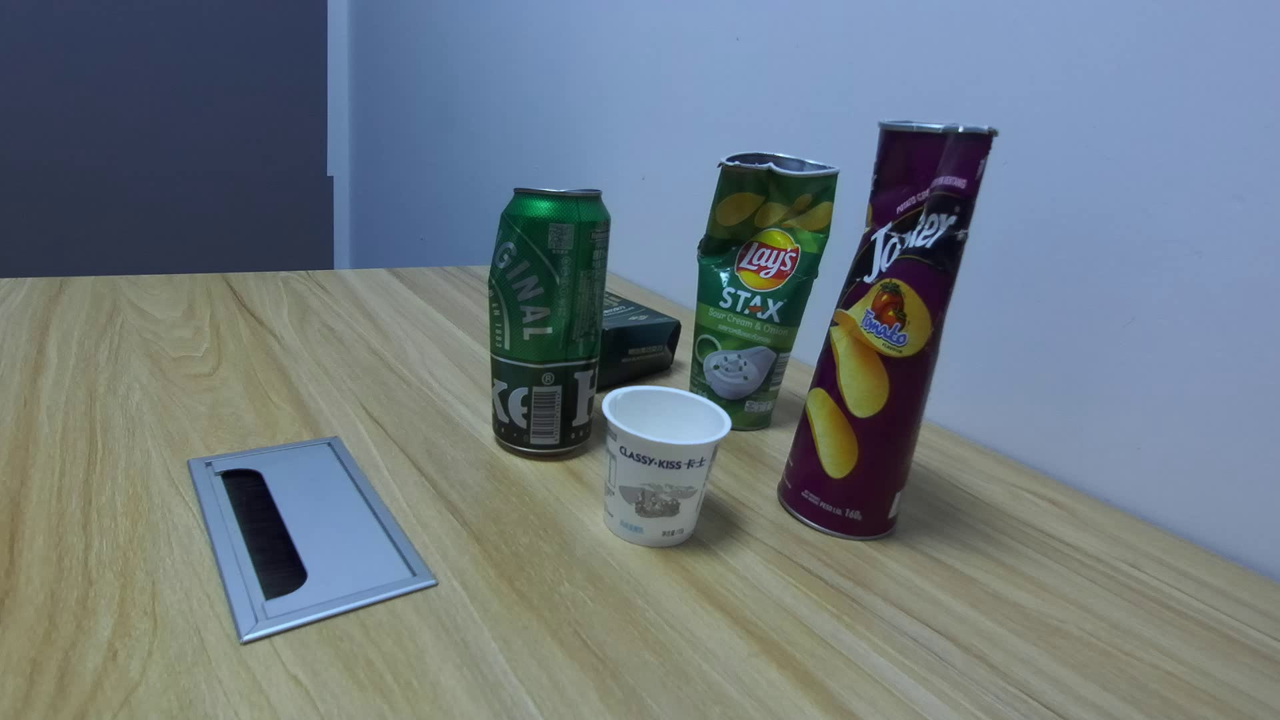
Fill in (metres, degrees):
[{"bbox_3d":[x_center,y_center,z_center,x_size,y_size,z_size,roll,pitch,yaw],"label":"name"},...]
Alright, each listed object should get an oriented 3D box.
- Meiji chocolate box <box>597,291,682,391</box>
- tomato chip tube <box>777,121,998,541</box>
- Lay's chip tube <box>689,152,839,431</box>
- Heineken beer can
[{"bbox_3d":[-0.038,-0.022,0.636,0.122,0.058,0.116,23,22,35],"label":"Meiji chocolate box"},{"bbox_3d":[0.139,-0.016,0.408,0.077,0.235,0.090,19,25,29],"label":"tomato chip tube"},{"bbox_3d":[0.084,-0.051,0.528,0.077,0.201,0.069,2,21,-11],"label":"Lay's chip tube"},{"bbox_3d":[-0.059,-0.024,0.457,0.068,0.168,0.069,5,16,-2],"label":"Heineken beer can"}]
